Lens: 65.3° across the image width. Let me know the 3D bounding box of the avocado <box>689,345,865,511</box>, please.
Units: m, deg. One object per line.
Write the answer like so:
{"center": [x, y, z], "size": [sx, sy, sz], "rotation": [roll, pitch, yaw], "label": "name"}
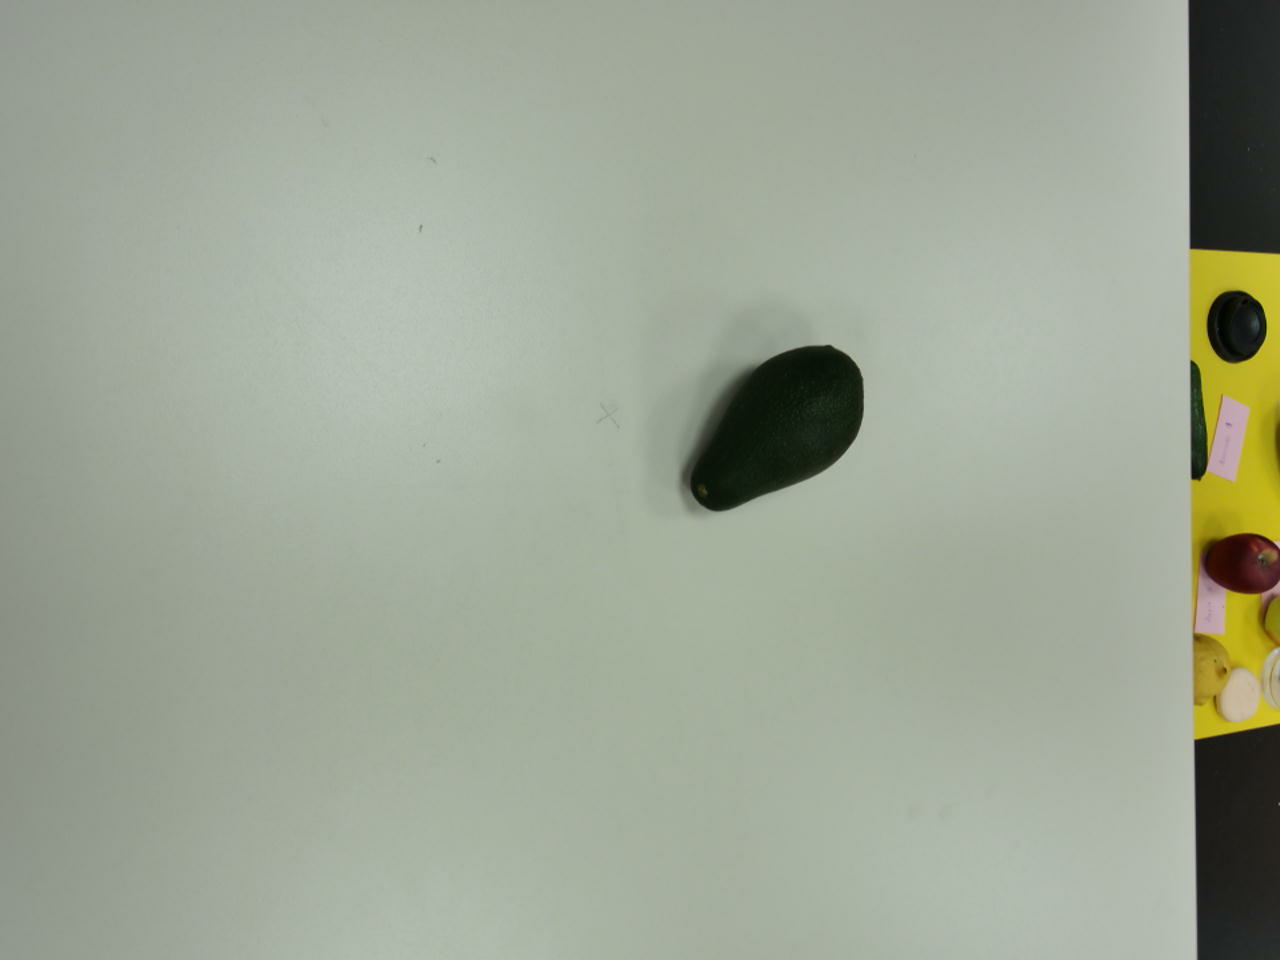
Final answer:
{"center": [0.078, -0.032, 0.565], "size": [0.109, 0.071, 0.072], "rotation": [-24, 99, -20], "label": "avocado"}
